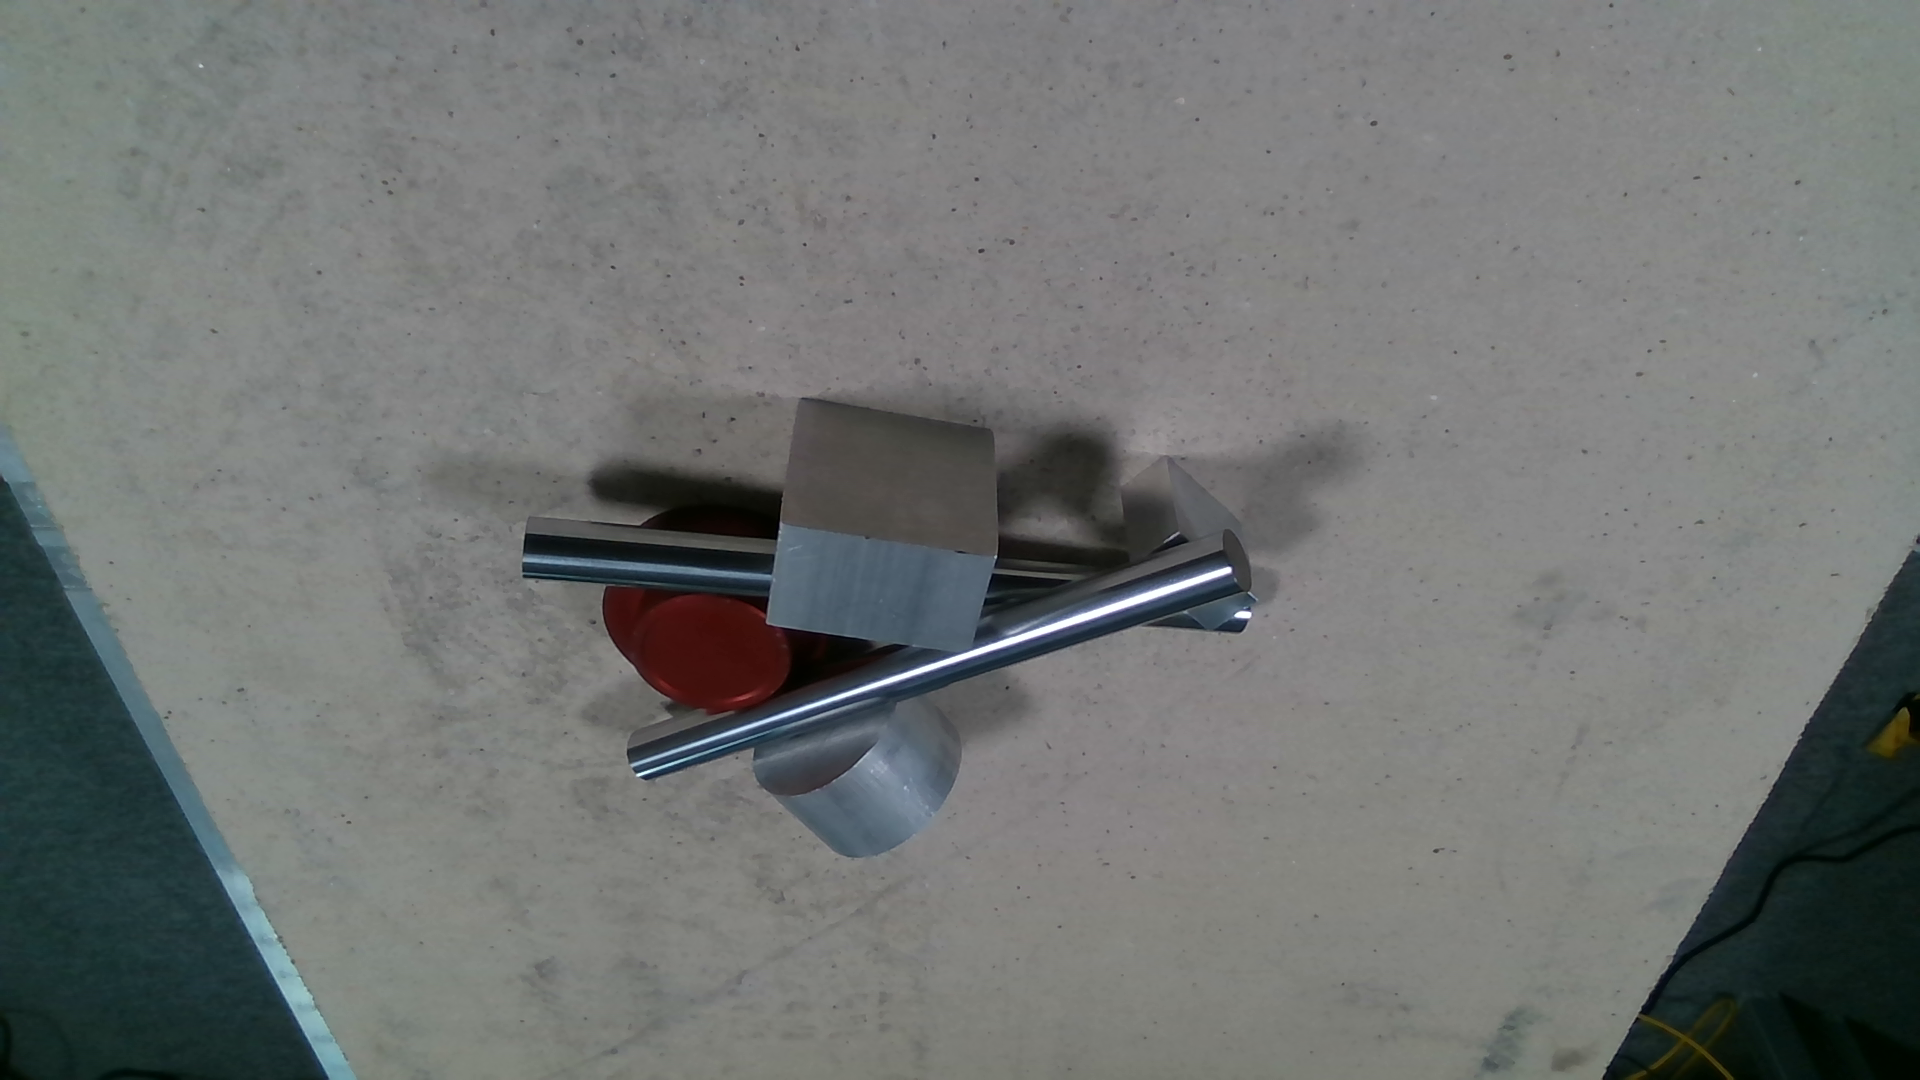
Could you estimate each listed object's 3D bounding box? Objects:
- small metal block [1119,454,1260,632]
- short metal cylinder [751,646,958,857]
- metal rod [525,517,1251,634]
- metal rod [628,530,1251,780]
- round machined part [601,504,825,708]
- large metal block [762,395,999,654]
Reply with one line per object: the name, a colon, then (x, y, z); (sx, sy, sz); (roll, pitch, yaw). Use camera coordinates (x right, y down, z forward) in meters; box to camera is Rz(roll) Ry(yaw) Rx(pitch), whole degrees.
small metal block: (0.093, 0.001, 0.564); (0.050, 0.050, 0.025); (37, 121, -27)
short metal cylinder: (-0.047, 0.095, 0.624); (0.080, 0.080, 0.050); (-26, 125, 20)
metal rod: (-0.023, 0.016, 0.573); (0.300, 0.025, 0.025); (5, 130, -12)
metal rod: (-0.022, 0.054, 0.580); (0.300, 0.025, 0.025); (-20, 128, 27)
round machined part: (-0.107, 0.035, 0.599); (0.098, 0.042, 0.098); (0, 130, 0)
large metal block: (-0.030, -0.007, 0.538); (0.080, 0.080, 0.050); (9, 129, -8)
